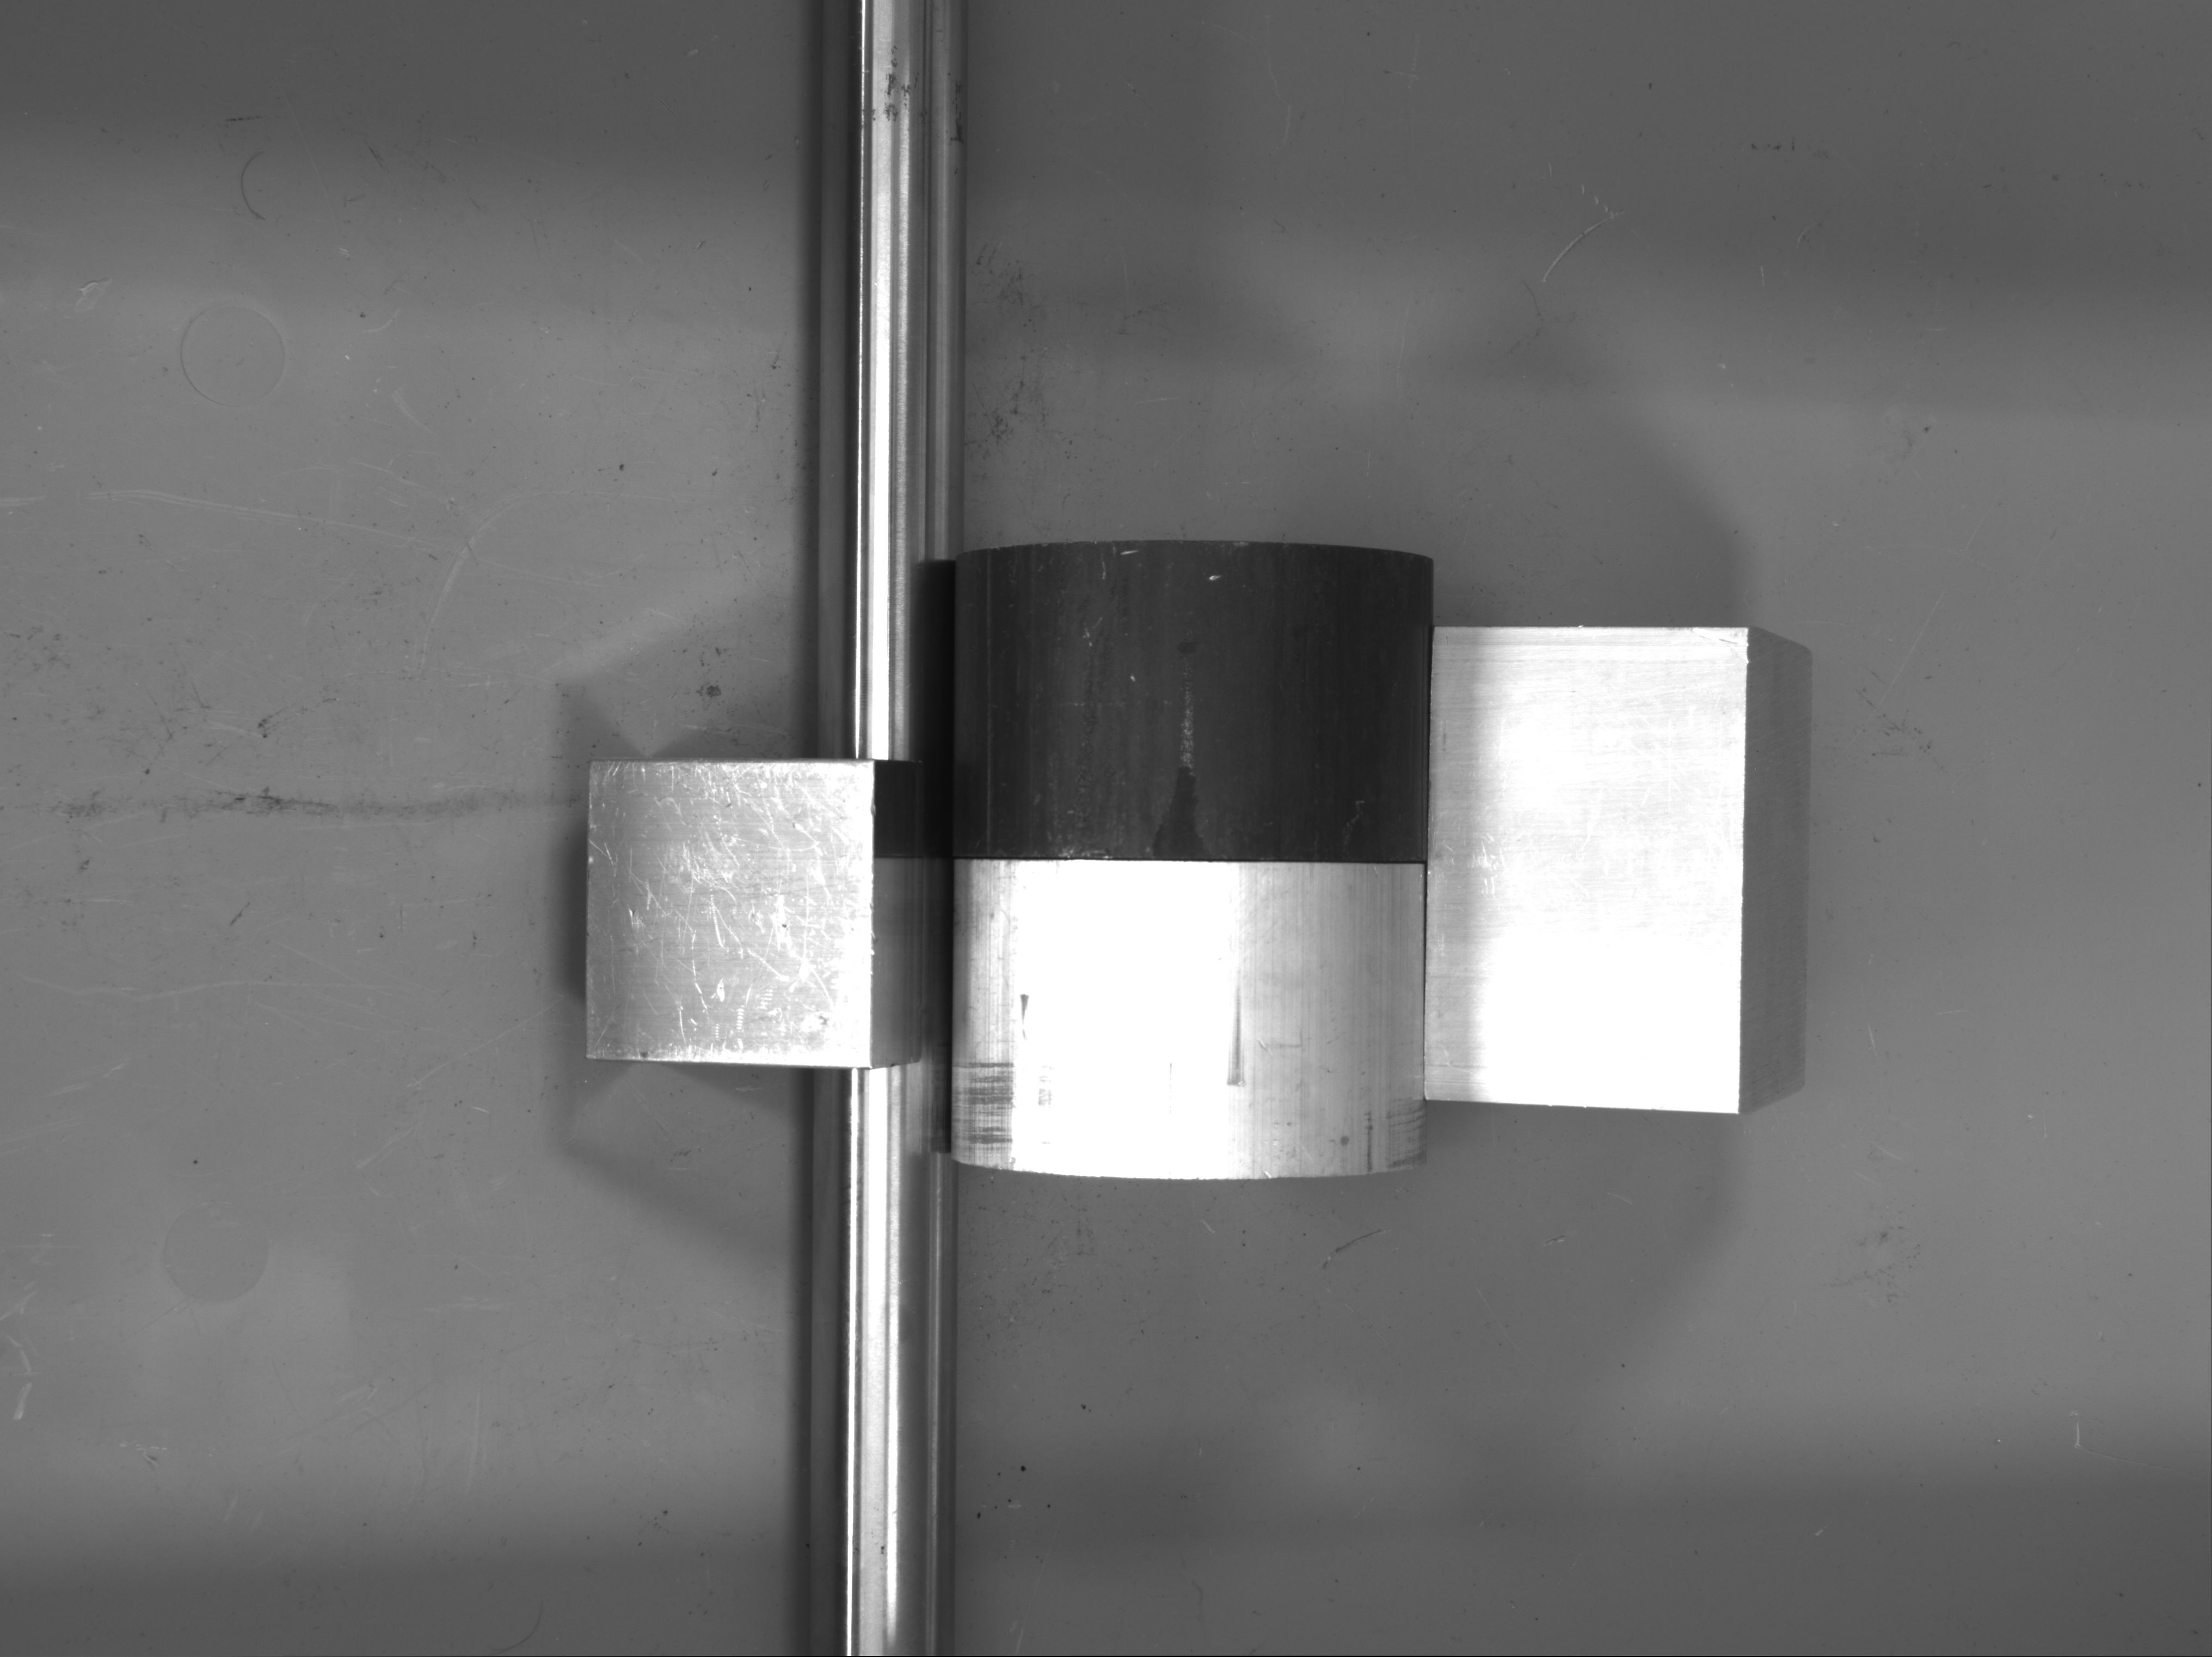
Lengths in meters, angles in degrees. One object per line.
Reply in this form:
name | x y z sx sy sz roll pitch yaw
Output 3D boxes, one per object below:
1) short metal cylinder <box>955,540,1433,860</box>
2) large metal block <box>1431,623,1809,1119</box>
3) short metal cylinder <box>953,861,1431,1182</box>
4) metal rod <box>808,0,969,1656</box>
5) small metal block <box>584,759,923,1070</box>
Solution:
short metal cylinder | 0.015 -0.020 0.618 0.080 0.080 0.050 1 90 -20
large metal block | 0.091 0.007 0.638 0.050 0.080 0.080 1 90 18
short metal cylinder | 0.015 0.031 0.618 0.080 0.080 0.050 1 90 -20
metal rod | -0.037 -0.002 0.628 0.025 0.025 0.300 1 90 -20
small metal block | -0.058 0.014 0.609 0.050 0.025 0.050 0 89 15
